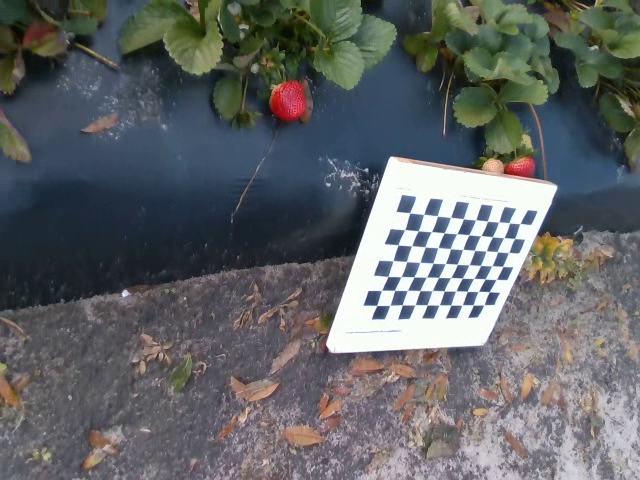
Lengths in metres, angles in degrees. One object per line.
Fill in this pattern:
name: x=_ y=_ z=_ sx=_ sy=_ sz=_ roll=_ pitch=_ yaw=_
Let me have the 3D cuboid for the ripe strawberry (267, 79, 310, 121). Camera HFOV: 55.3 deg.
ripe strawberry: x=-0.039 y=-0.167 z=0.739 sx=0.050 sy=0.053 sz=0.049 roll=-5 pitch=-42 yaw=-30
